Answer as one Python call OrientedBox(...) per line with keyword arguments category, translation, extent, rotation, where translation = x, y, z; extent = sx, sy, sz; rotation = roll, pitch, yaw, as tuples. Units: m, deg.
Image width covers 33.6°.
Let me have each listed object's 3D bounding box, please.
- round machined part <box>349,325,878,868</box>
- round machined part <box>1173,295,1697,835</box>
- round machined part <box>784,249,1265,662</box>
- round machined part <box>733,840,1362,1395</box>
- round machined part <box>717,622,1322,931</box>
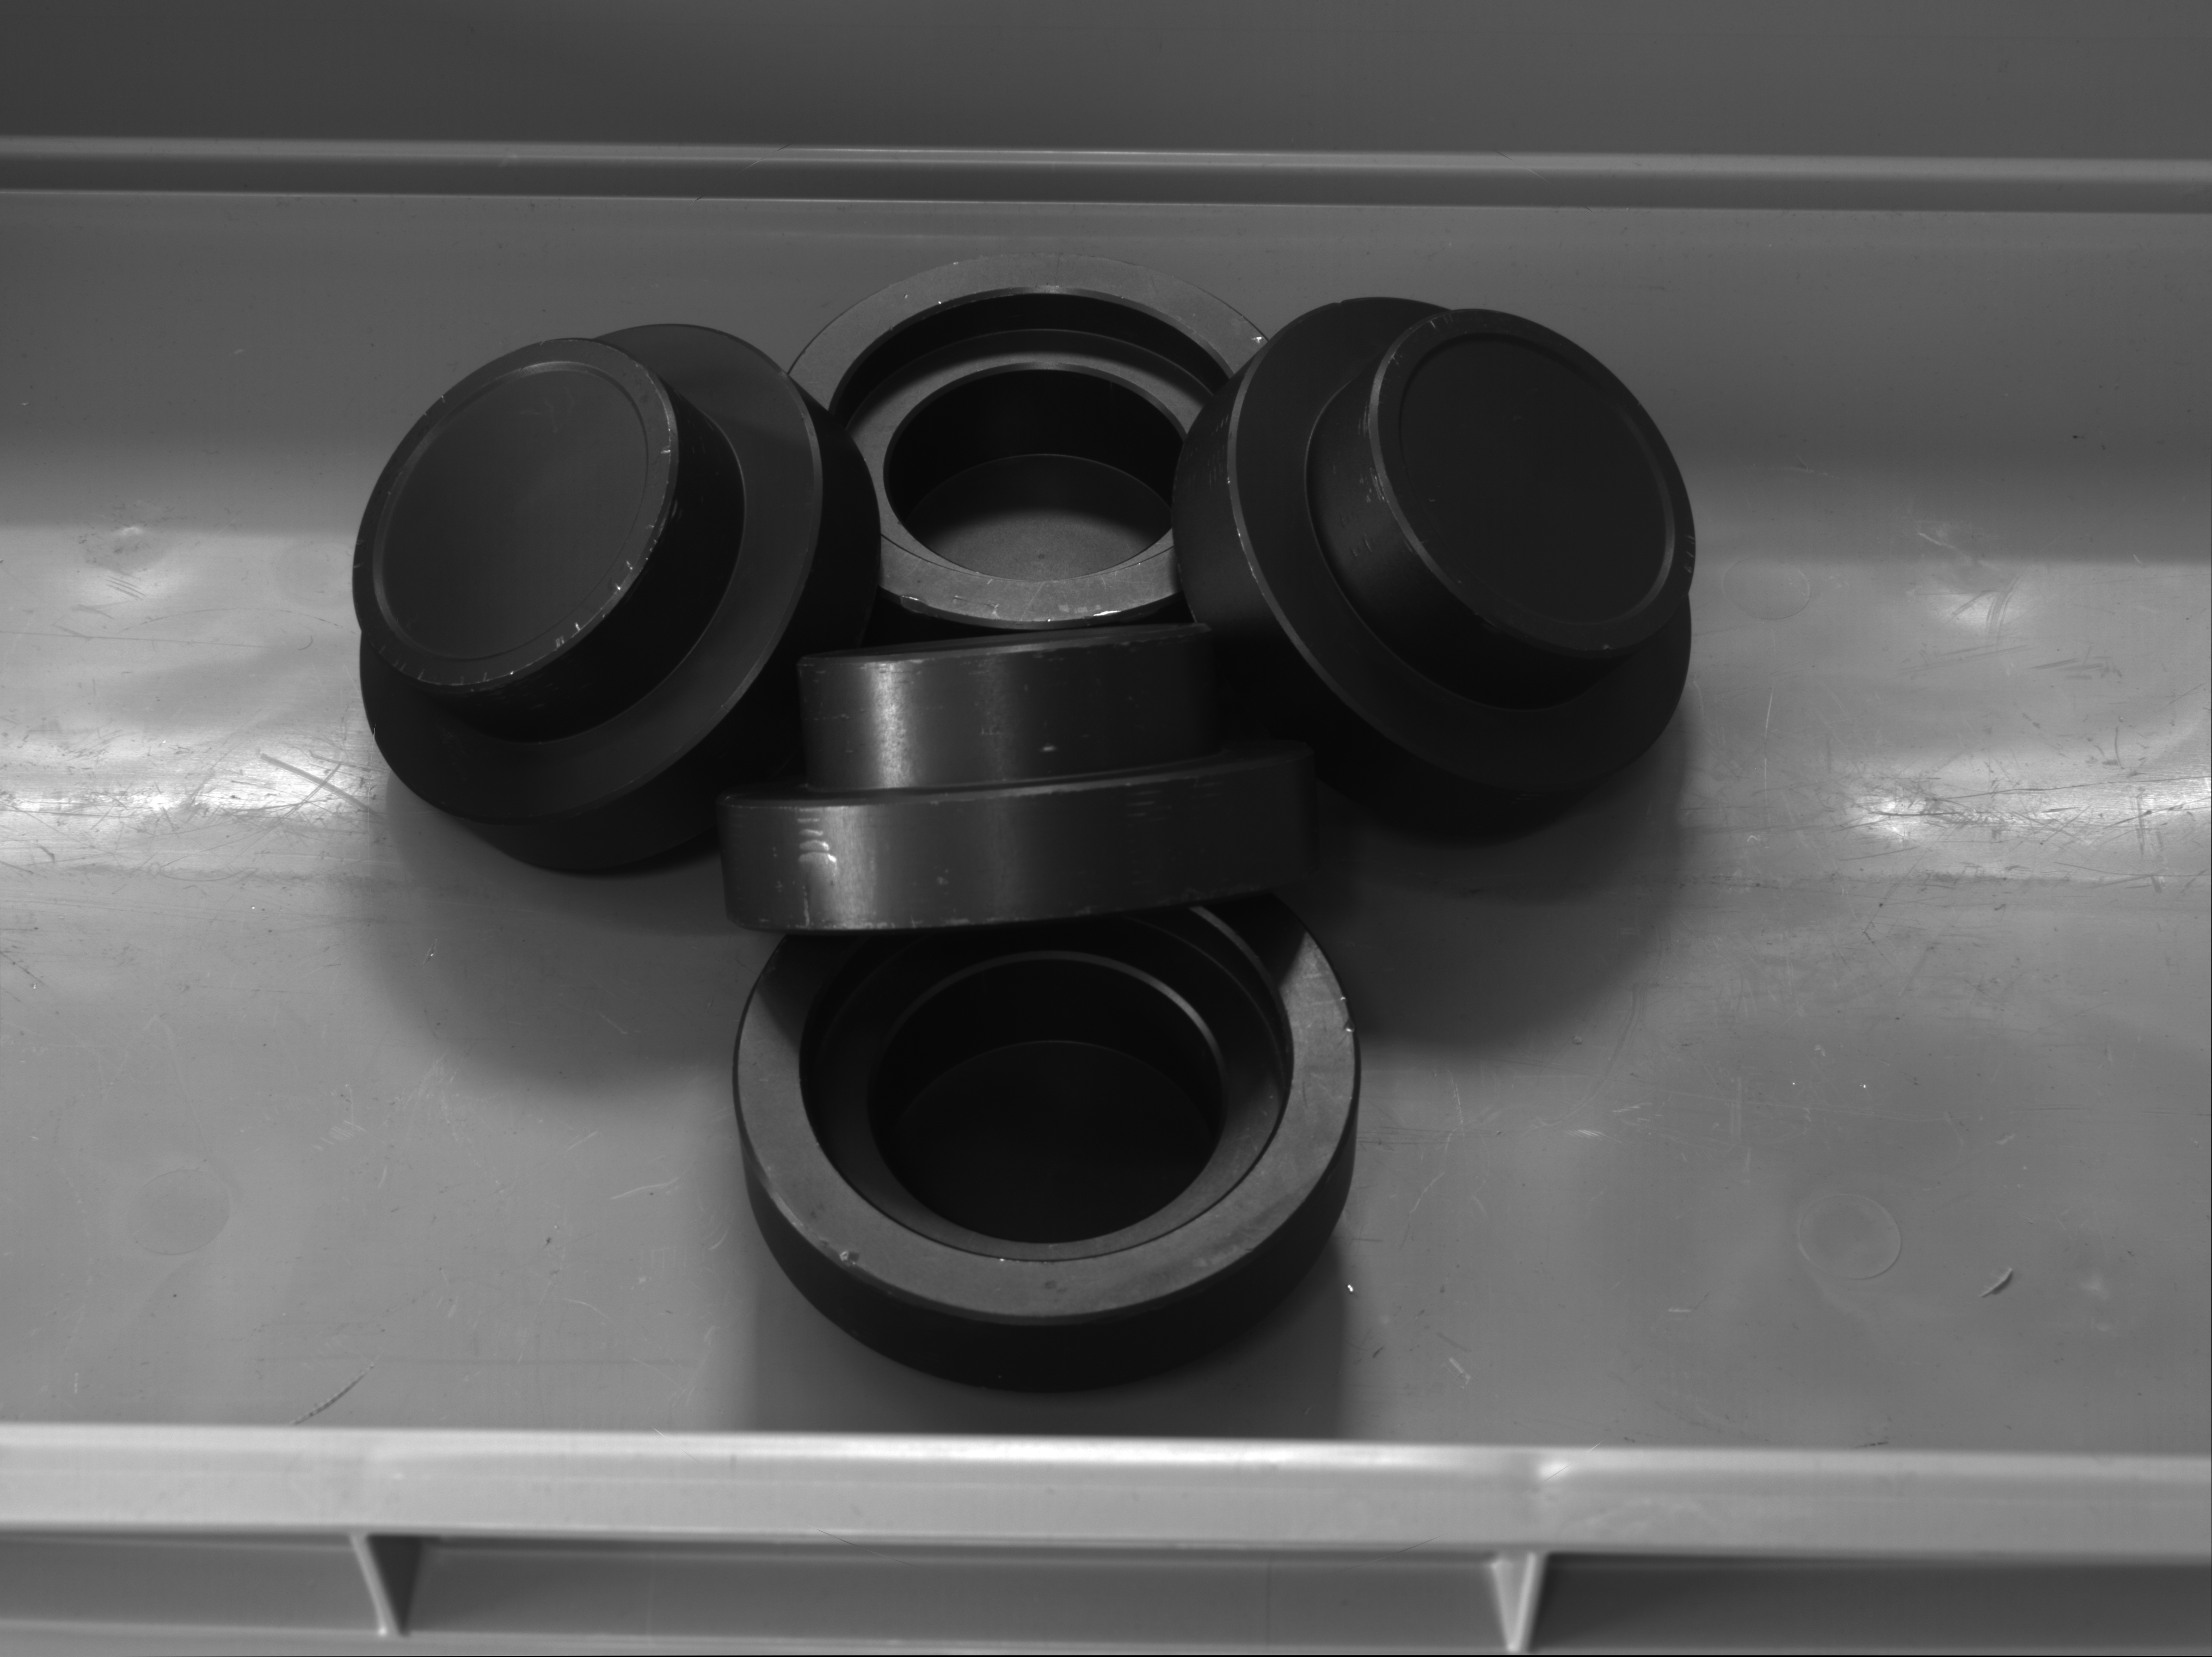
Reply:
OrientedBox(category="round machined part", translation=(-0.092, -0.046, 0.639), extent=(0.098, 0.042, 0.098), rotation=(-13, 60, 24))
OrientedBox(category="round machined part", translation=(0.064, -0.052, 0.643), extent=(0.098, 0.042, 0.098), rotation=(15, 58, -26))
OrientedBox(category="round machined part", translation=(-0.012, -0.059, 0.678), extent=(0.098, 0.042, 0.098), rotation=(0, 50, 0))
OrientedBox(category="round machined part", translation=(-0.009, 0.049, 0.587), extent=(0.098, 0.042, 0.098), rotation=(0, 50, 0))
OrientedBox(category="round machined part", translation=(-0.015, -0.010, 0.601), extent=(0.098, 0.098, 0.042), rotation=(-5, 94, -4))
